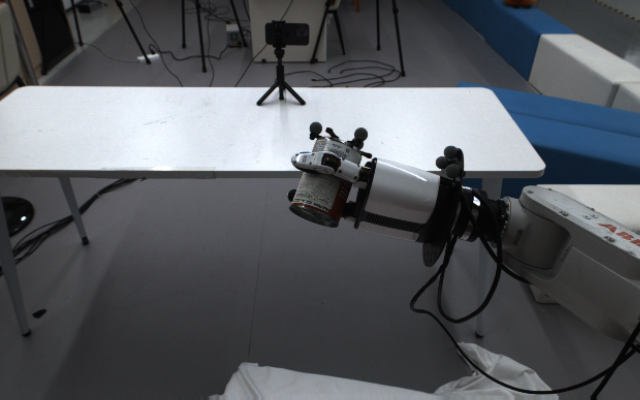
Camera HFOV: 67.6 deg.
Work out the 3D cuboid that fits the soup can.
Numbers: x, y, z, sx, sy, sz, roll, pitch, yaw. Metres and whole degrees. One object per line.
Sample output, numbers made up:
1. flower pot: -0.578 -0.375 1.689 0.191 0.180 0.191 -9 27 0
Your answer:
1. soup can: 0.010 -0.023 0.637 0.067 0.067 0.101 15 75 18
